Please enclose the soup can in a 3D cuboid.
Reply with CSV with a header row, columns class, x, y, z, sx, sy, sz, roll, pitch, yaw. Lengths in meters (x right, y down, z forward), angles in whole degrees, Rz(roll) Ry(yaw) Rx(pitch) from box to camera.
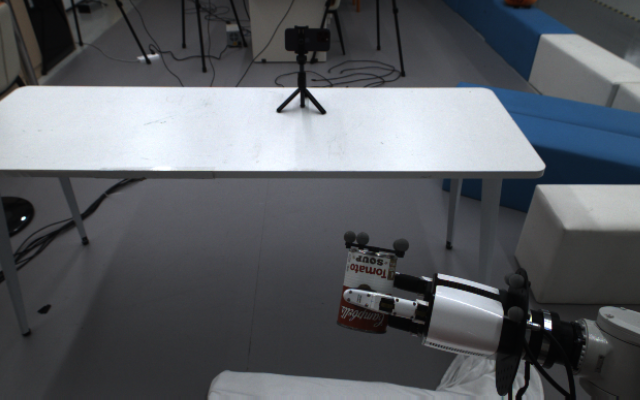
class,x,y,z,sx,sy,sz,roll,pitch,yaw
soup can,0.065,0.119,0.647,0.067,0.101,0.067,9,-5,1
